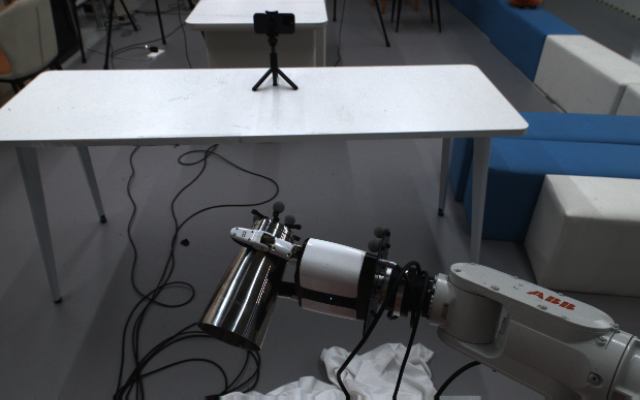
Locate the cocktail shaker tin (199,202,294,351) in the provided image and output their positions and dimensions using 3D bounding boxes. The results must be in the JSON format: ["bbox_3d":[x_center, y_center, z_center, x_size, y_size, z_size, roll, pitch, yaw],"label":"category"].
[{"bbox_3d":[-0.095,0.112,0.688,0.093,0.093,0.170,13,60,15],"label":"cocktail shaker tin"}]
